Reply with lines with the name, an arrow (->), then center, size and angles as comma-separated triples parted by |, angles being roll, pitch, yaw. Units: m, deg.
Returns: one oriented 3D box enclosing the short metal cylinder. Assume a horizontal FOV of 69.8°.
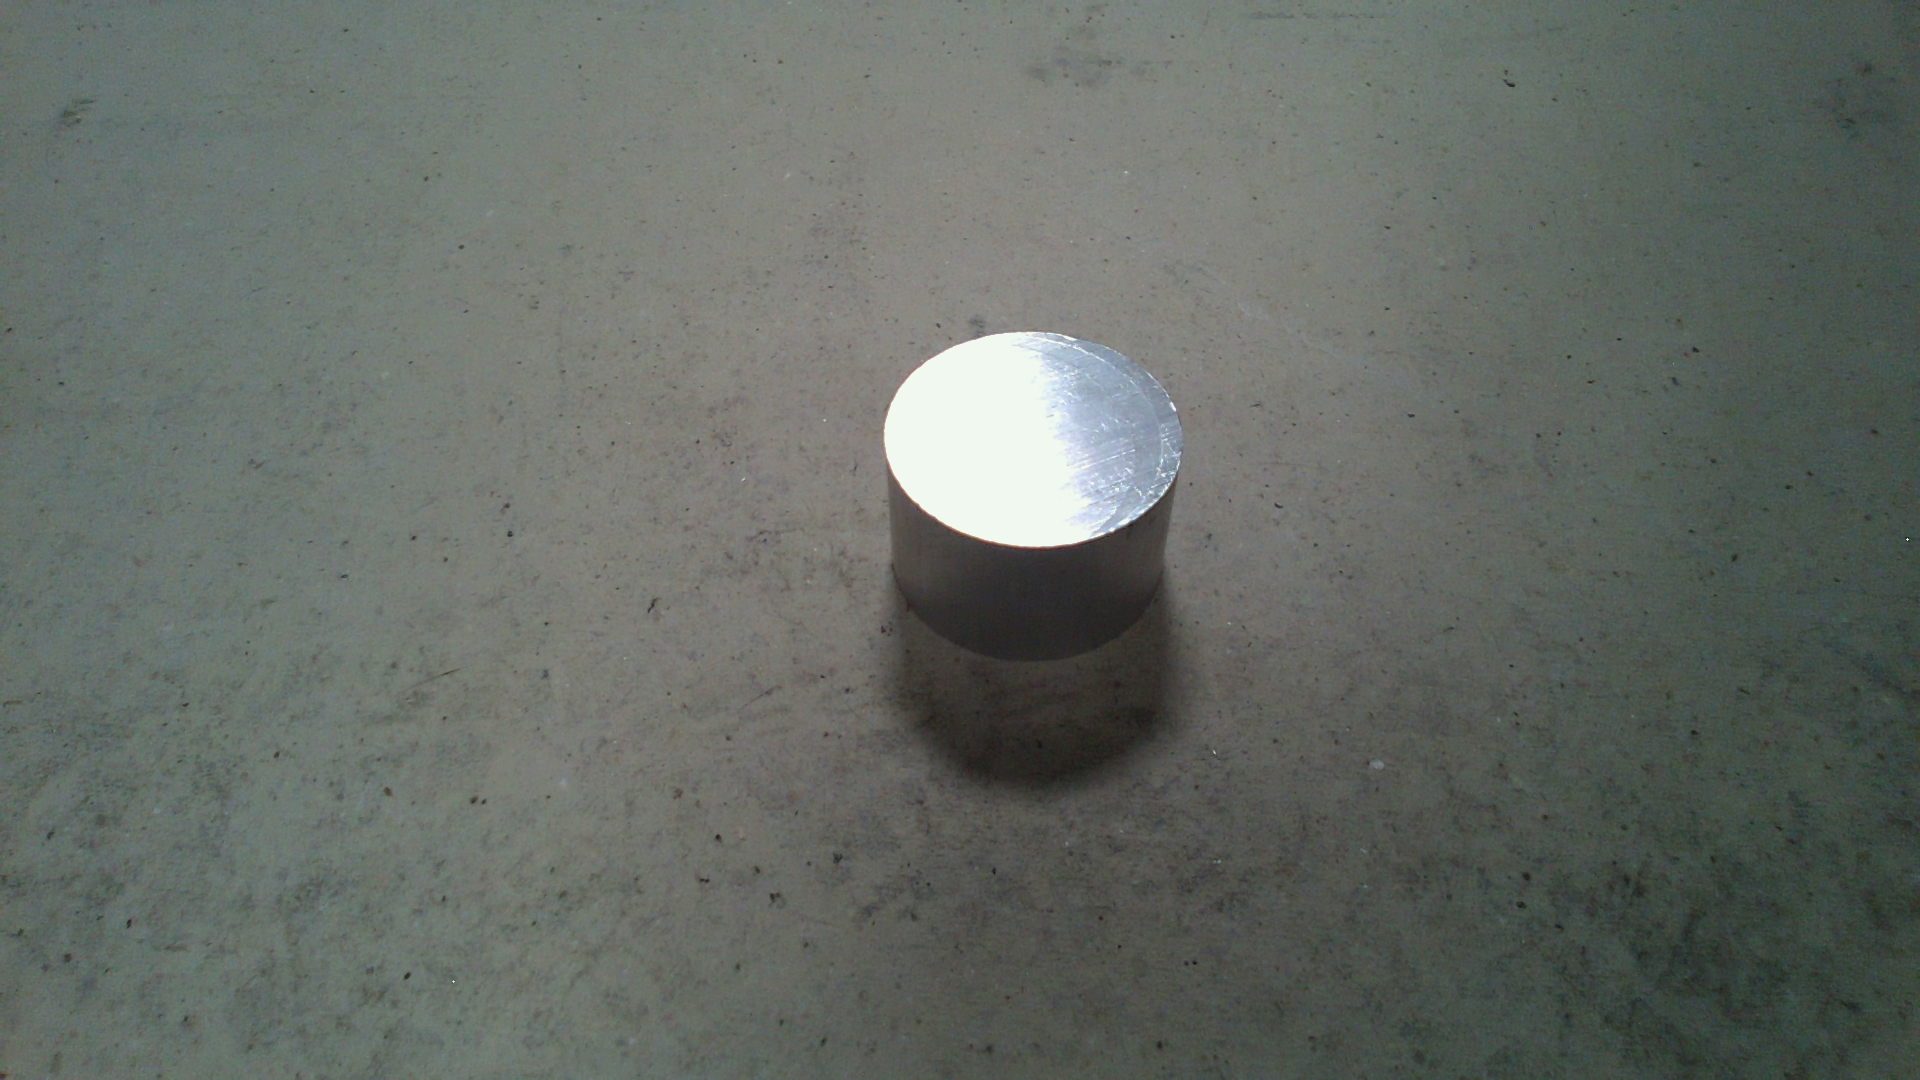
short metal cylinder -> 0.020, -0.013, 0.387 | 0.080, 0.050, 0.080 | 0, 50, 0
